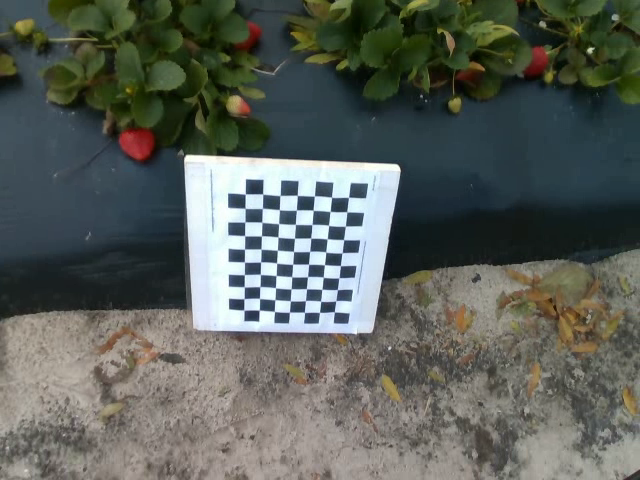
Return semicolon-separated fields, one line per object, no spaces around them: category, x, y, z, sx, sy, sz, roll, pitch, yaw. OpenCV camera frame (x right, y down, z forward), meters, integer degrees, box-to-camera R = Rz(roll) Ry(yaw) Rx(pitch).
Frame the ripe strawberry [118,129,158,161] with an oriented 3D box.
ripe strawberry;-0.192;-0.115;0.846;0.037;0.046;0.036;-37;-27;18
